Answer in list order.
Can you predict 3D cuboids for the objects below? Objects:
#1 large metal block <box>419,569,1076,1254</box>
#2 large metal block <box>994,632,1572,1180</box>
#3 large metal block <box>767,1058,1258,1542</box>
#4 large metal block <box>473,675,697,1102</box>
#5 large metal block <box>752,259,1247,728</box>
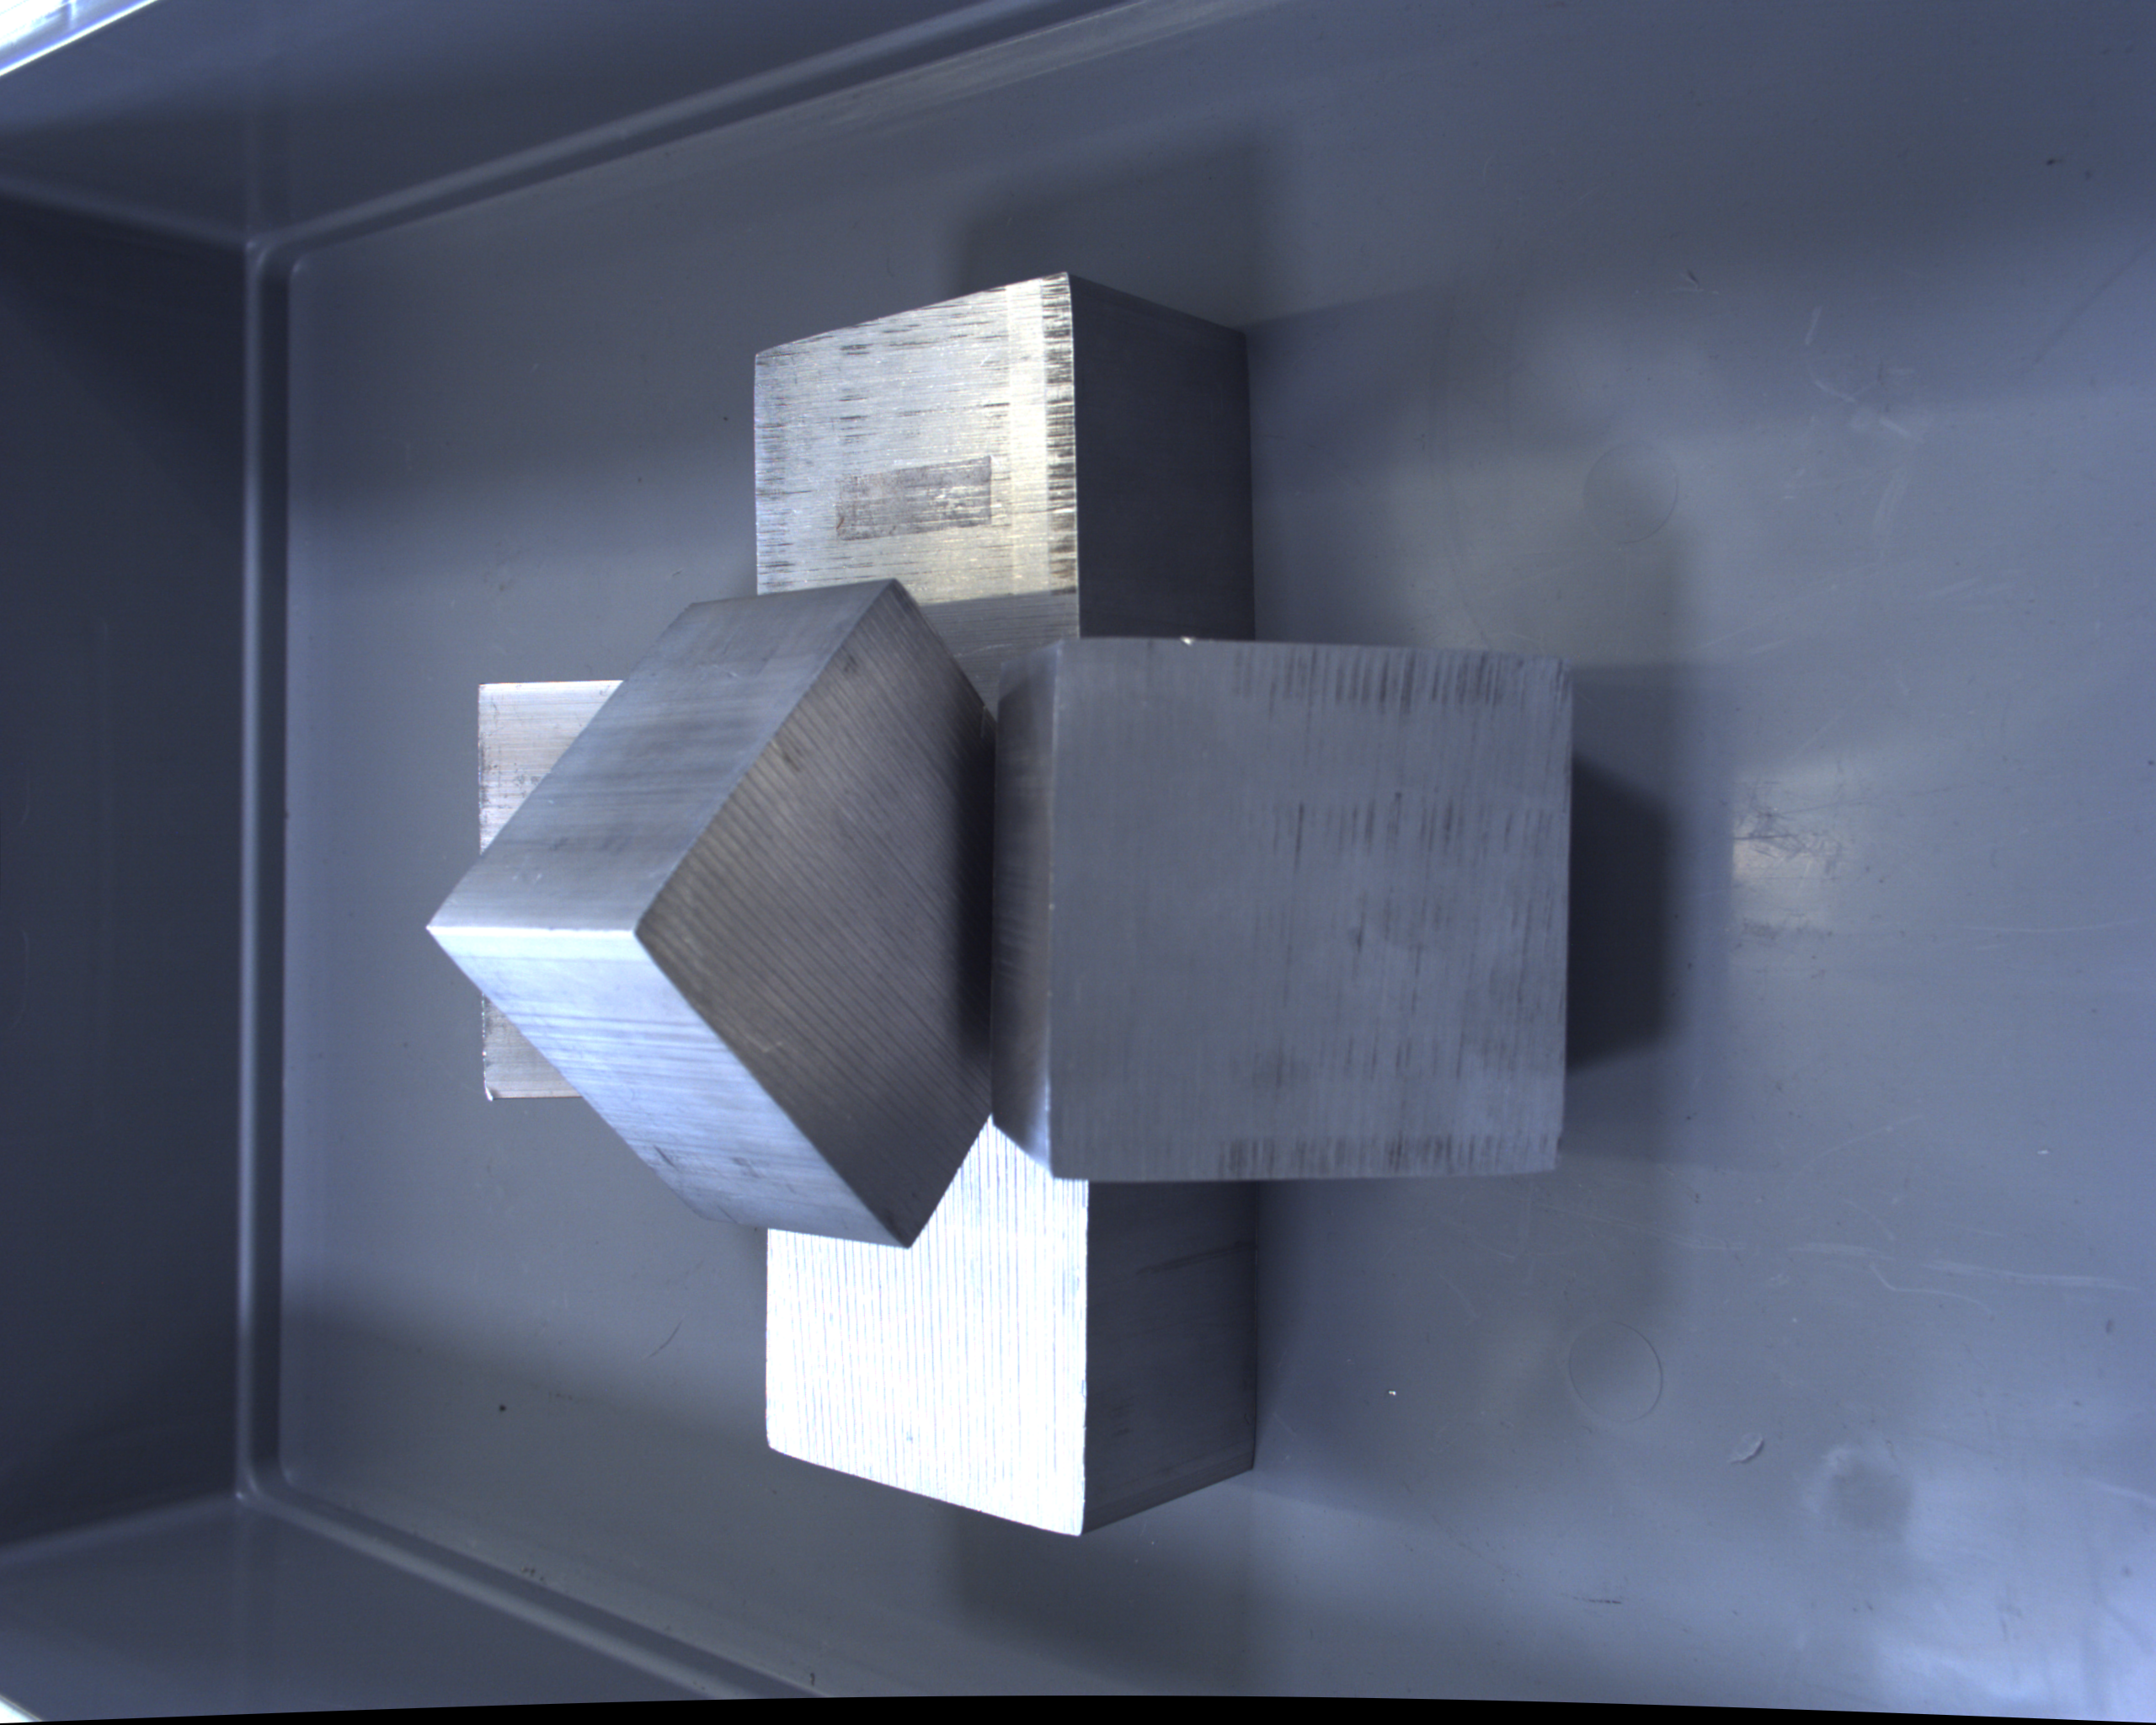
[{"bbox_3d":[-0.049,0.008,0.358,0.050,0.080,0.080,-1,46,39],"label":"large metal block"},{"bbox_3d":[0.031,0.006,0.335,0.050,0.081,0.079,-174,84,-78],"label":"large metal block"},{"bbox_3d":[-0.013,0.075,0.400,0.080,0.050,0.080,1,91,40],"label":"large metal block"},{"bbox_3d":[-0.085,0.005,0.430,0.050,0.080,0.080,-1,90,4],"label":"large metal block"},{"bbox_3d":[-0.016,-0.062,0.398,0.080,0.050,0.080,-2,89,40],"label":"large metal block"}]
